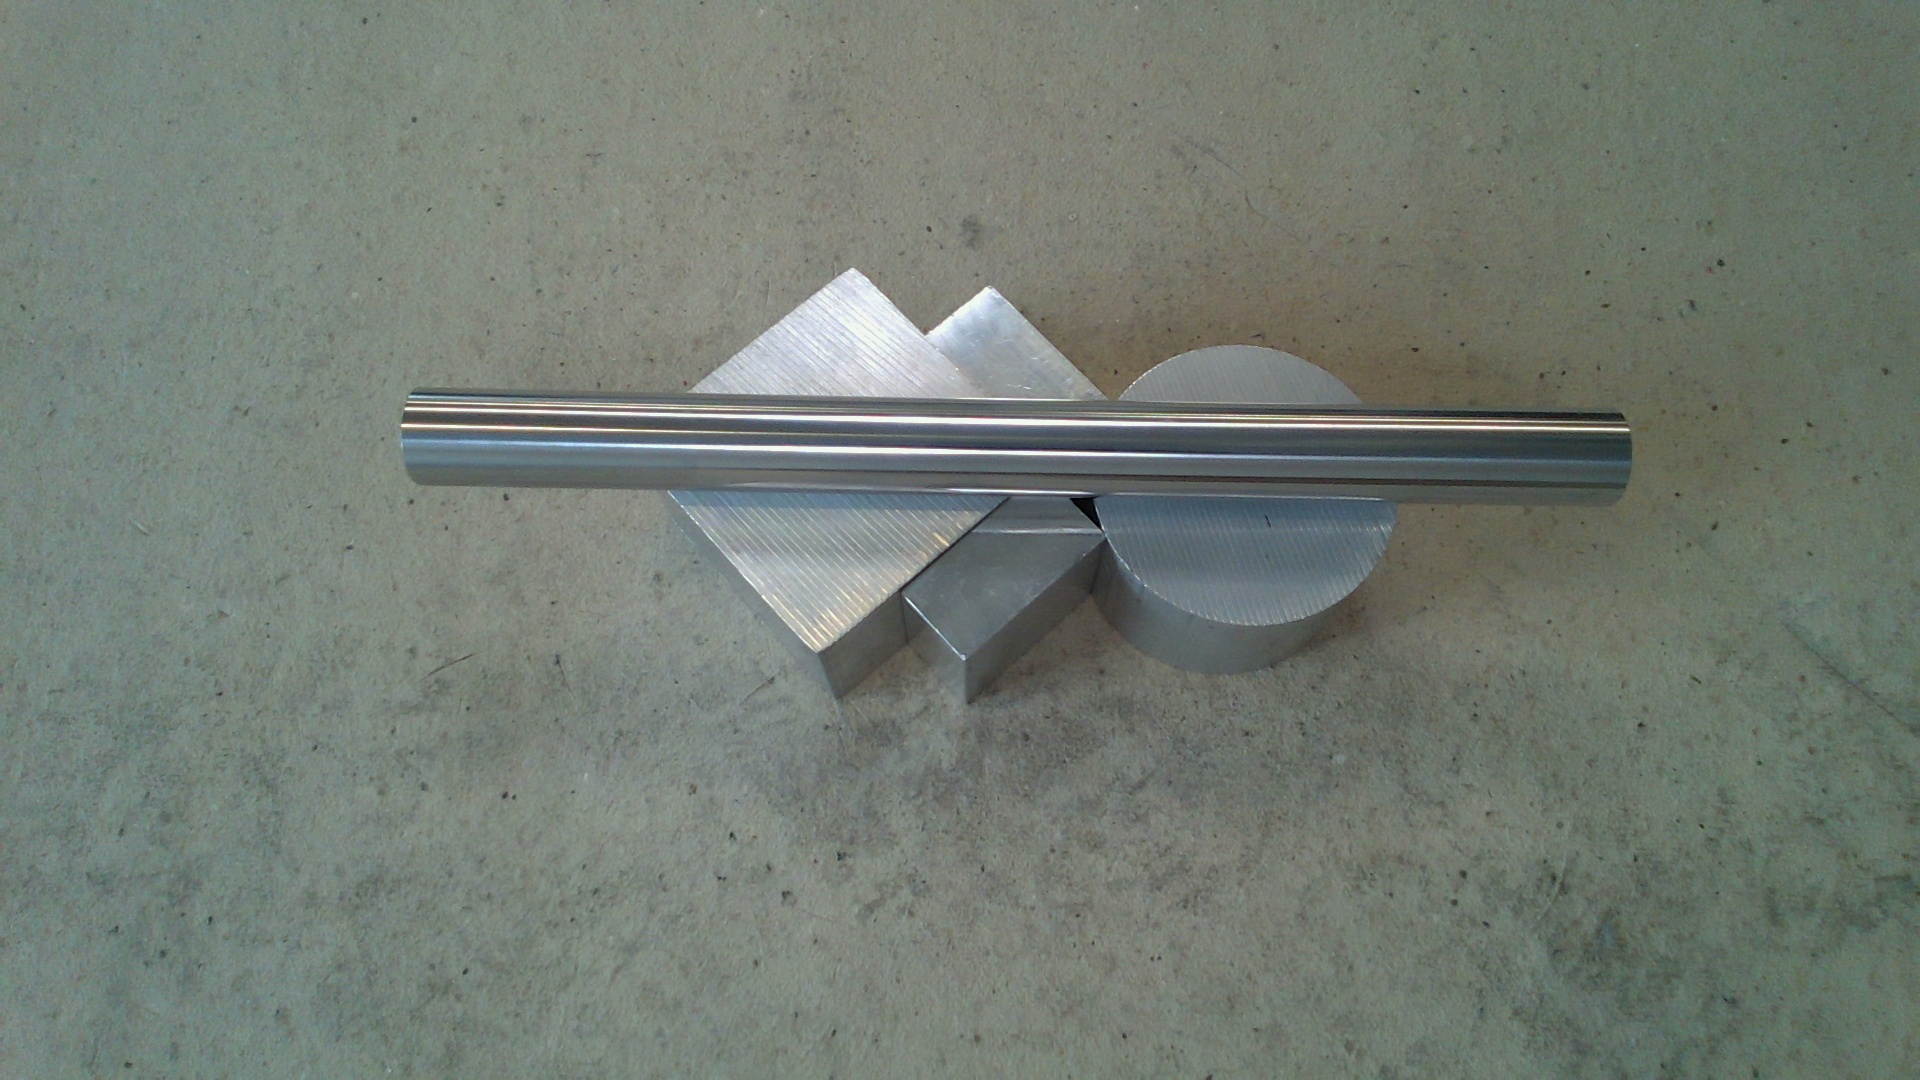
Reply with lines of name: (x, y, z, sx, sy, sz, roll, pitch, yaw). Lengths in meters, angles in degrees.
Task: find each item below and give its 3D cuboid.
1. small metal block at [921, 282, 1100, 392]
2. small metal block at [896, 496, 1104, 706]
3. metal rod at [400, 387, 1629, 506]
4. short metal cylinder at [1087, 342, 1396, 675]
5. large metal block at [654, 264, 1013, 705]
small metal block: (0.015, -0.038, 0.396, 0.025, 0.050, 0.050, -41, 75, -13)
small metal block: (0.011, 0.014, 0.377, 0.050, 0.050, 0.025, -41, 75, -13)
metal rod: (0.013, -0.024, 0.348, 0.300, 0.025, 0.025, 1, 70, 0)
short metal cylinder: (0.074, -0.008, 0.384, 0.080, 0.050, 0.080, 0, 70, 0)
large metal block: (-0.033, -0.015, 0.385, 0.080, 0.050, 0.080, -40, 75, -13)
